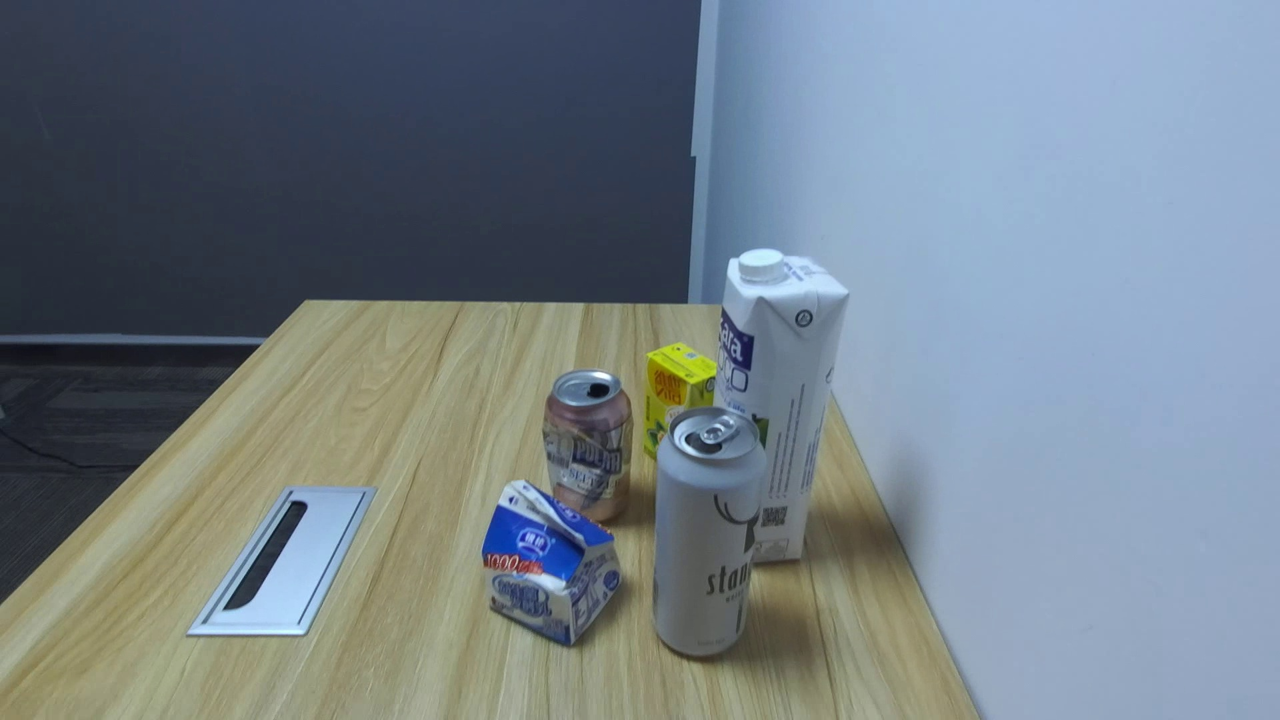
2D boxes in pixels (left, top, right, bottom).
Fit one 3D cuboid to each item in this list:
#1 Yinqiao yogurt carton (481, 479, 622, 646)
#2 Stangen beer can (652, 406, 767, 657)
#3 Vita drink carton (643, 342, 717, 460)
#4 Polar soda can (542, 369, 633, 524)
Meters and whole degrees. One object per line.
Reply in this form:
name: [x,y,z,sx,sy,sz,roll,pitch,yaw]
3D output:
Yinqiao yogurt carton: [-0.065,0.133,0.502,0.083,0.093,0.077,14,31,25]
Stangen beer can: [0.042,0.114,0.459,0.067,0.171,0.067,1,30,0]
Vita drink carton: [0.041,0.047,0.633,0.044,0.109,0.066,-19,34,-30]
Polar soda can: [-0.040,0.073,0.583,0.067,0.122,0.074,-11,27,-17]
